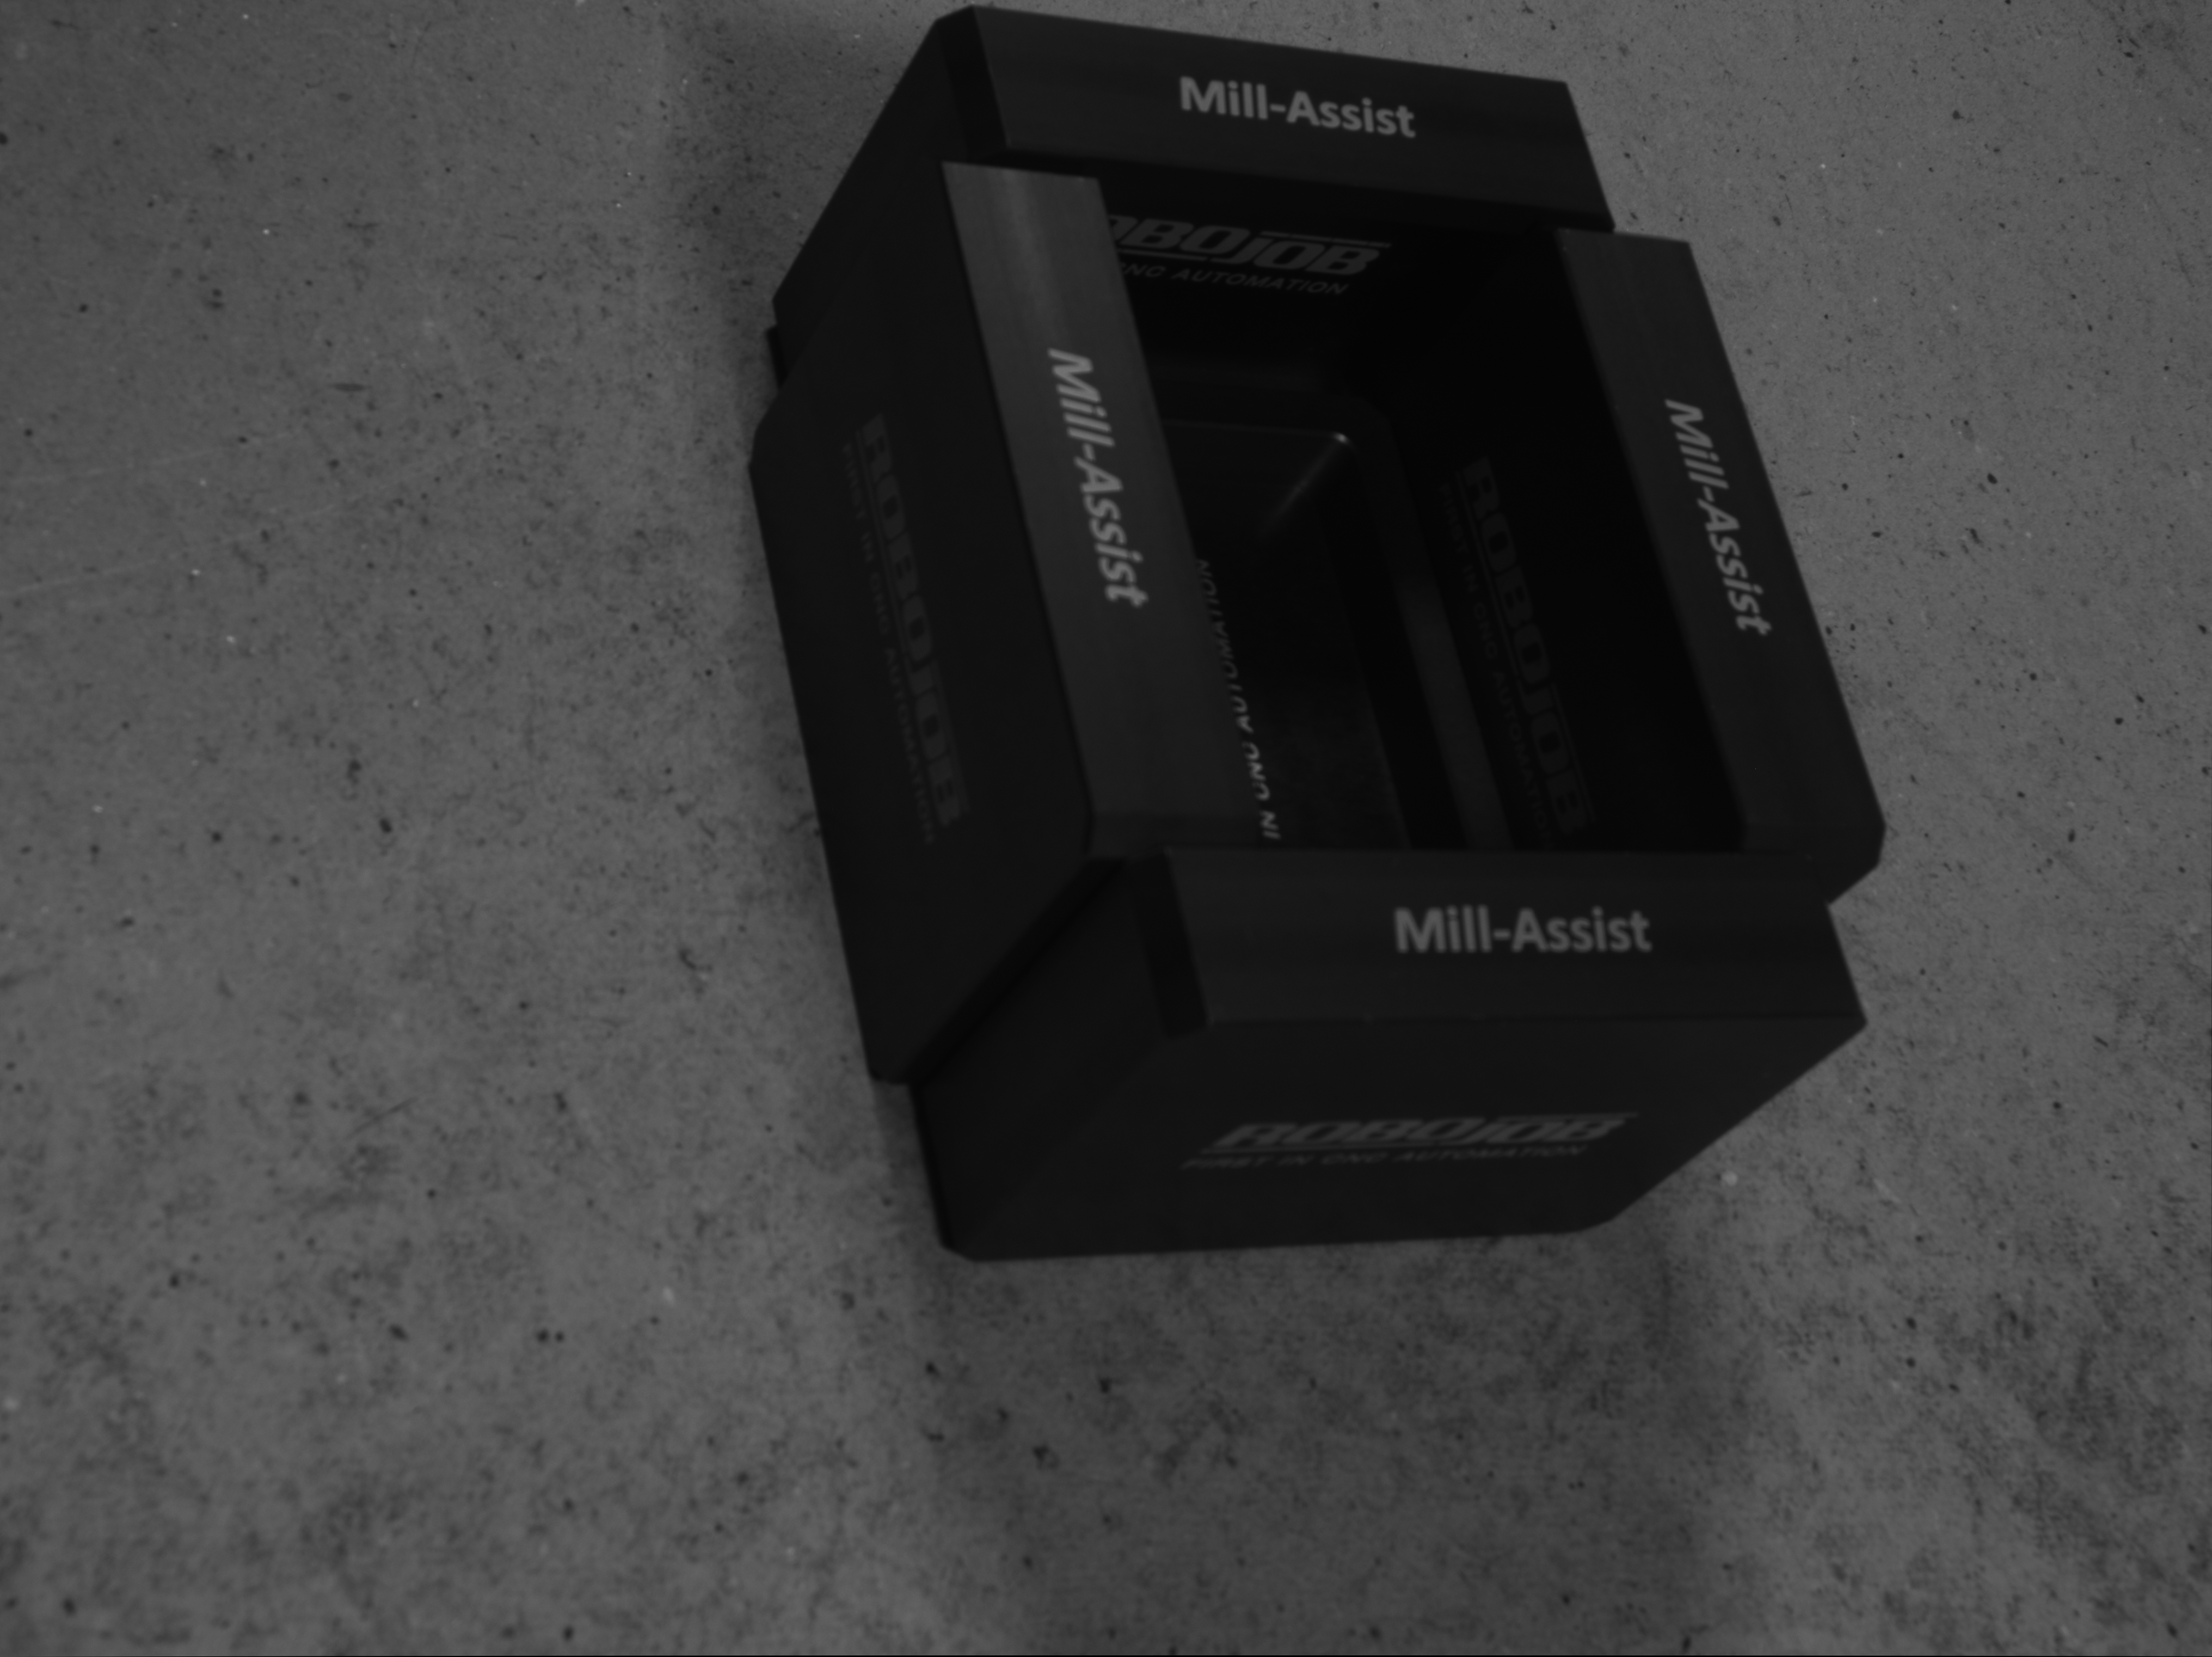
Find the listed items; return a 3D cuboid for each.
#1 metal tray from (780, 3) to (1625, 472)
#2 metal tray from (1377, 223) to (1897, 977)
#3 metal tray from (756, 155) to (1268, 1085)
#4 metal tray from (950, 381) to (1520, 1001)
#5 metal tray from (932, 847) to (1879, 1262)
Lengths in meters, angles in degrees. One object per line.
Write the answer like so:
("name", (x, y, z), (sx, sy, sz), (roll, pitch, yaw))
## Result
("metal tray", (0.017, -0.104, 0.670), (0.130, 0.090, 0.030), (1, 61, -28))
("metal tray", (0.088, -0.032, 0.664), (0.030, 0.090, 0.130), (1, 61, -28))
("metal tray", (-0.019, -0.034, 0.608), (0.030, 0.090, 0.130), (1, 61, -28))
("metal tray", (0.021, -0.019, 0.660), (0.090, 0.030, 0.130), (1, 61, -28))
("metal tray", (0.048, 0.038, 0.600), (0.130, 0.090, 0.030), (1, 61, -28))
